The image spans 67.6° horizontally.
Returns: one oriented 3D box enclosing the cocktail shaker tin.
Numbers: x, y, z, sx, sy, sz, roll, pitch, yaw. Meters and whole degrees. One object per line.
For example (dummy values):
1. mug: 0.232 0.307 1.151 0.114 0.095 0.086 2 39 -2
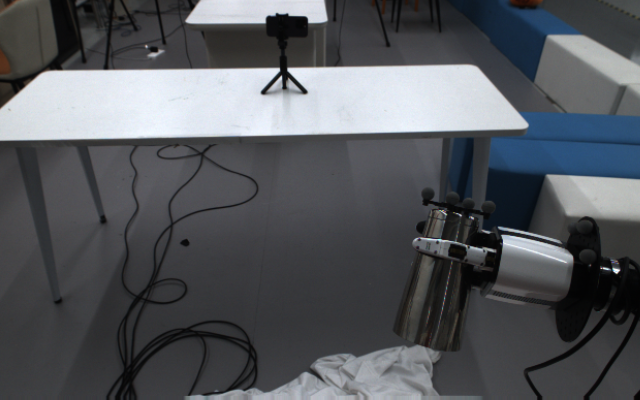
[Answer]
1. cocktail shaker tin: 0.164 0.098 0.645 0.093 0.170 0.093 13 1 0
